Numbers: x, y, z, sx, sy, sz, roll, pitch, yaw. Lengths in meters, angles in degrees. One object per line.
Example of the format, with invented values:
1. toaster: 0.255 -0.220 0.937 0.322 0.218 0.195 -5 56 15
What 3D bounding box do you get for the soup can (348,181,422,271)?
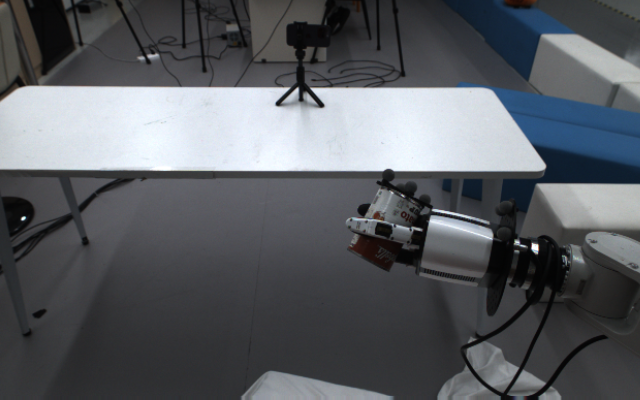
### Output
1. soup can: 0.091 0.040 0.676 0.067 0.101 0.067 28 -2 1
